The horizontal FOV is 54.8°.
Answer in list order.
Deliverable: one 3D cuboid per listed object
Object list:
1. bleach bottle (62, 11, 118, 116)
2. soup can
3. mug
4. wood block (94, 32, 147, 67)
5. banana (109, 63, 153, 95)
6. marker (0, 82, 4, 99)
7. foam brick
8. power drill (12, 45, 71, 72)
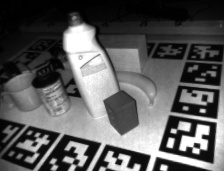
[{"bbox_3d":[-0.047,-0.048,0.504,0.103,0.253,0.067,-33,42,-23],"label":"bleach bottle"},{"bbox_3d":[-0.159,0.011,0.573,0.068,0.103,0.067,-6,36,5],"label":"soup can"},{"bbox_3d":[-0.256,0.015,0.621,0.117,0.082,0.092,-26,43,-11],"label":"mug"},{"bbox_3d":[-0.001,-0.114,0.702,0.204,0.092,0.090,6,44,22],"label":"wood block"},{"bbox_3d":[0.043,-0.032,0.625,0.194,0.039,0.074,21,64,32],"label":"banana"},{"bbox_3d":[-0.356,0.031,0.685,0.019,0.020,0.120,-15,40,2],"label":"marker"},{"bbox_3d":[0.024,0.057,0.498,0.052,0.079,0.052,-29,39,-21],"label":"foam brick"},{"bbox_3d":[-0.241,-0.070,0.749,0.188,0.058,0.182,-33,46,-25],"label":"power drill"}]
